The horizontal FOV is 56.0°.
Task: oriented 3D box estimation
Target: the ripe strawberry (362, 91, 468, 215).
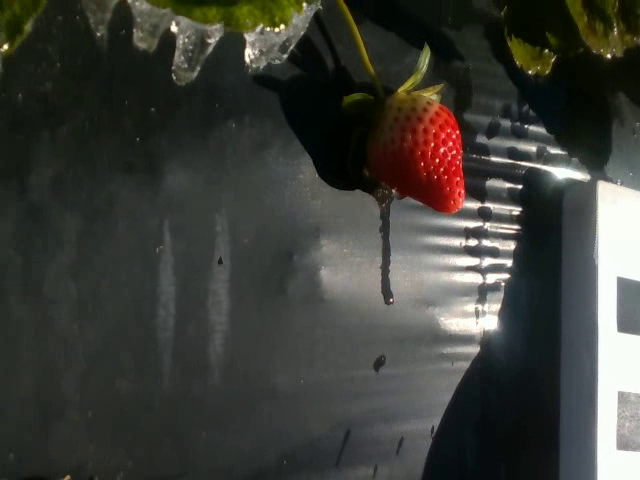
[{"bbox_3d":[0.039,-0.030,0.219,0.039,0.053,0.041,-13,-19,-24],"label":"ripe strawberry"}]
